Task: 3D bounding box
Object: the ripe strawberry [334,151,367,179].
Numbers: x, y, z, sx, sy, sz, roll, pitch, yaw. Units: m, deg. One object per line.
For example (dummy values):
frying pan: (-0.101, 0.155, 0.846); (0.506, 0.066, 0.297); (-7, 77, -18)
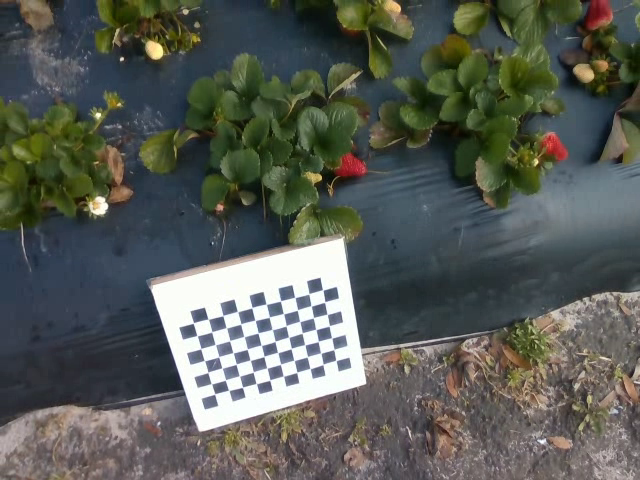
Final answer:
ripe strawberry: (0.045, -0.106, 0.799); (0.064, 0.051, 0.043); (18, 16, -18)
